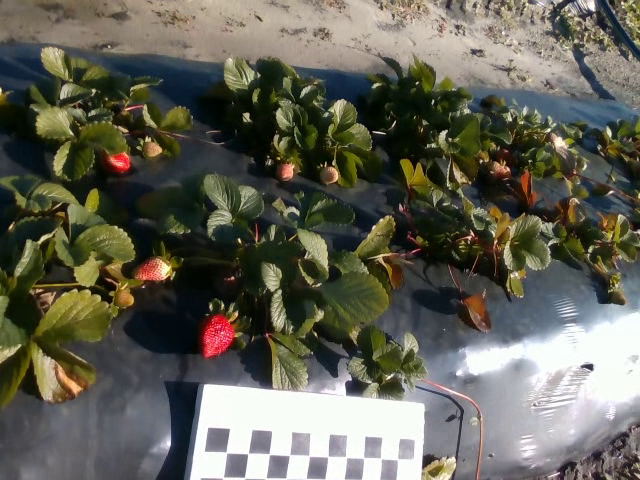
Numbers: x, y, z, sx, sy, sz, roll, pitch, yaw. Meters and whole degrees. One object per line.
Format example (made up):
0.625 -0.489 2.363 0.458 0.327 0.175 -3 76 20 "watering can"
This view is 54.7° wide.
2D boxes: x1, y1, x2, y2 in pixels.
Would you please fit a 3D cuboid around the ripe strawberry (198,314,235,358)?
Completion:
-0.117 0.103 0.644 0.058 0.066 0.062 -35 12 0 "ripe strawberry"
